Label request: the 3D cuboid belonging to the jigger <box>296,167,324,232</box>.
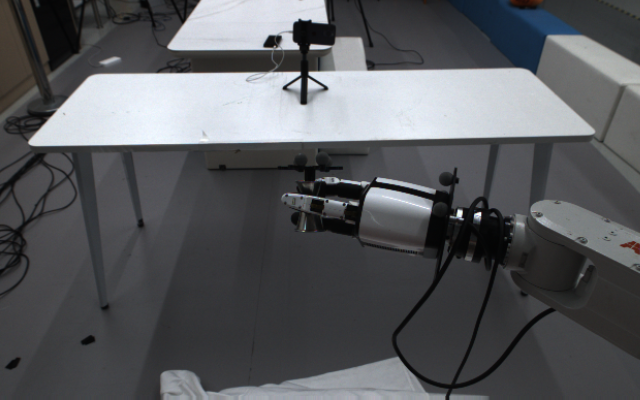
[{"bbox_3d":[-0.013,0.008,0.658,0.043,0.071,0.043,-1,2,0],"label":"jigger"}]
